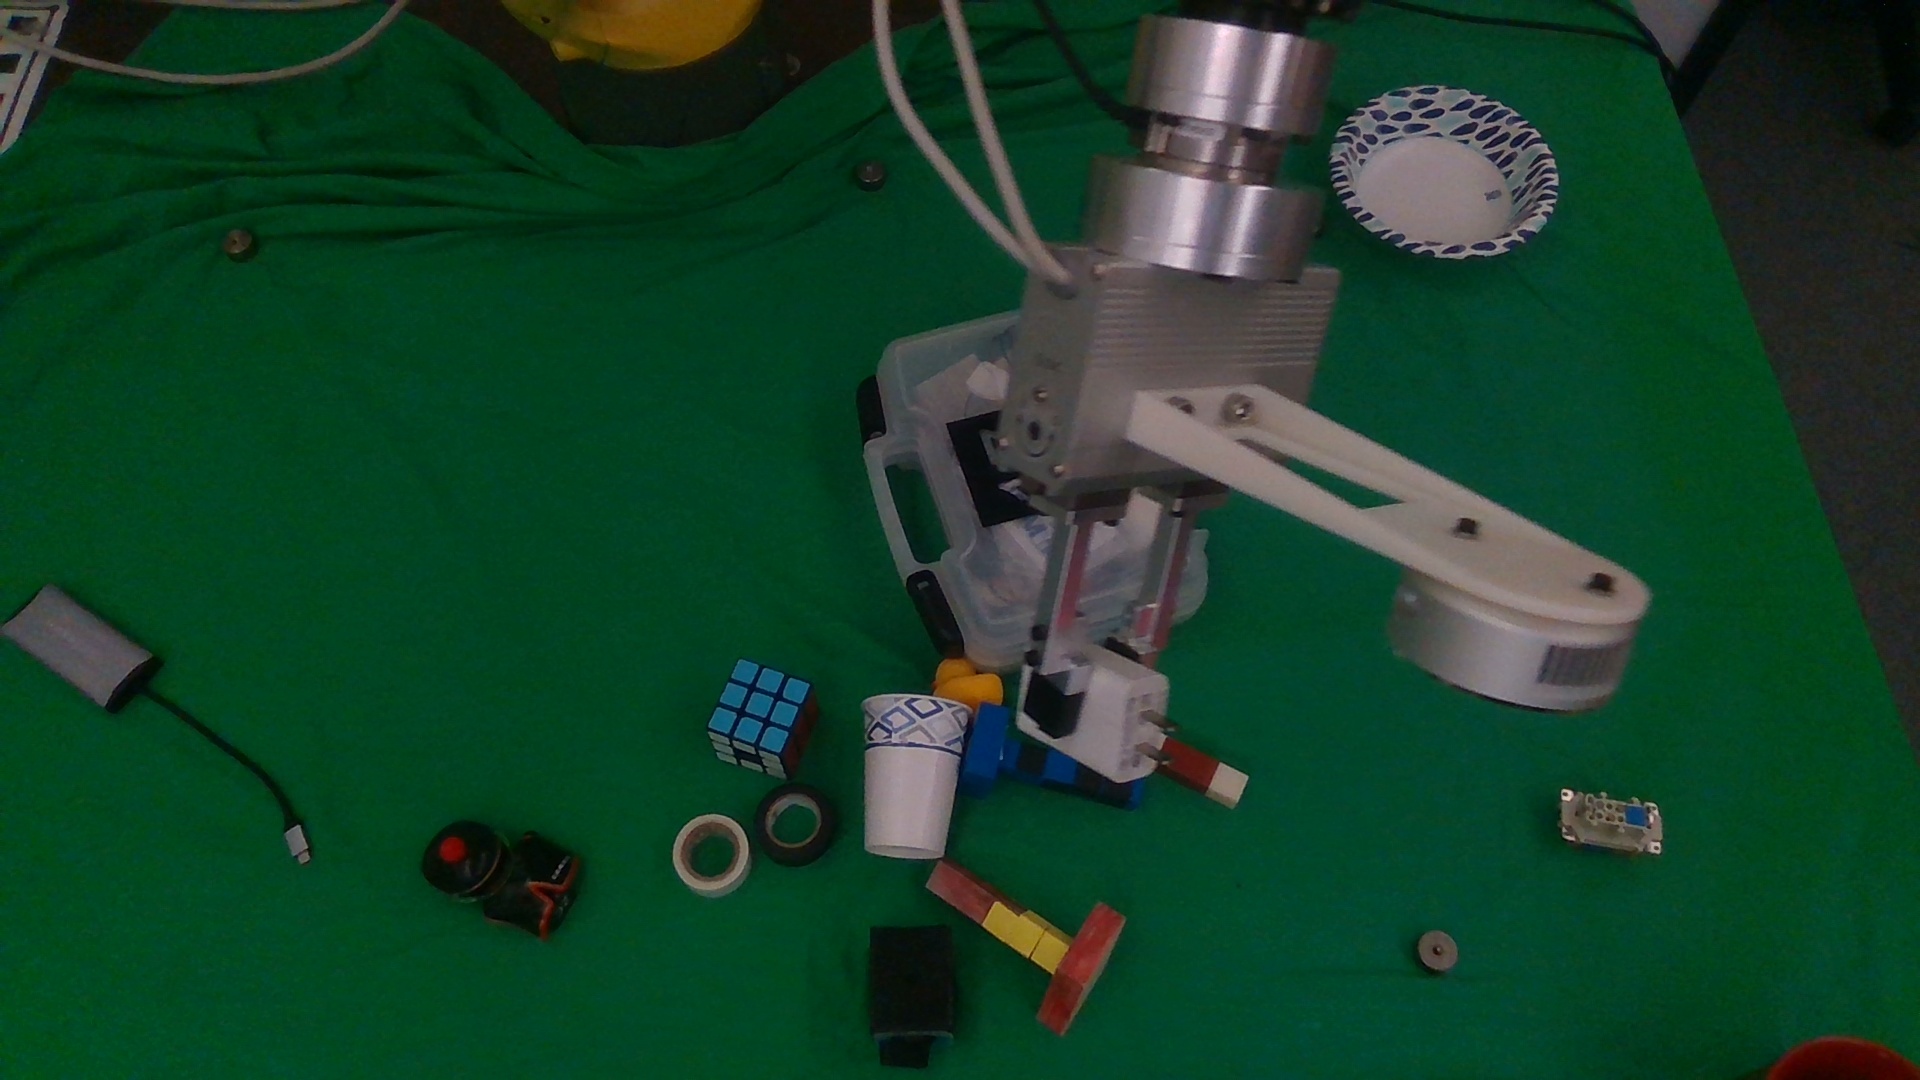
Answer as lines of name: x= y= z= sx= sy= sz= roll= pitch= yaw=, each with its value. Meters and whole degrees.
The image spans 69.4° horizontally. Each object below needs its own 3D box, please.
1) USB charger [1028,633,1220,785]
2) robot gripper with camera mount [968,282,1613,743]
USB charger: x=0.059 y=0.061 z=0.493 sx=0.029 sy=0.044 sz=0.076 roll=-20 pitch=23 yaw=-40
robot gripper with camera mount: x=0.102 y=0.021 z=0.427 sx=0.118 sy=0.158 sz=0.194 roll=-9 pitch=26 yaw=-36
